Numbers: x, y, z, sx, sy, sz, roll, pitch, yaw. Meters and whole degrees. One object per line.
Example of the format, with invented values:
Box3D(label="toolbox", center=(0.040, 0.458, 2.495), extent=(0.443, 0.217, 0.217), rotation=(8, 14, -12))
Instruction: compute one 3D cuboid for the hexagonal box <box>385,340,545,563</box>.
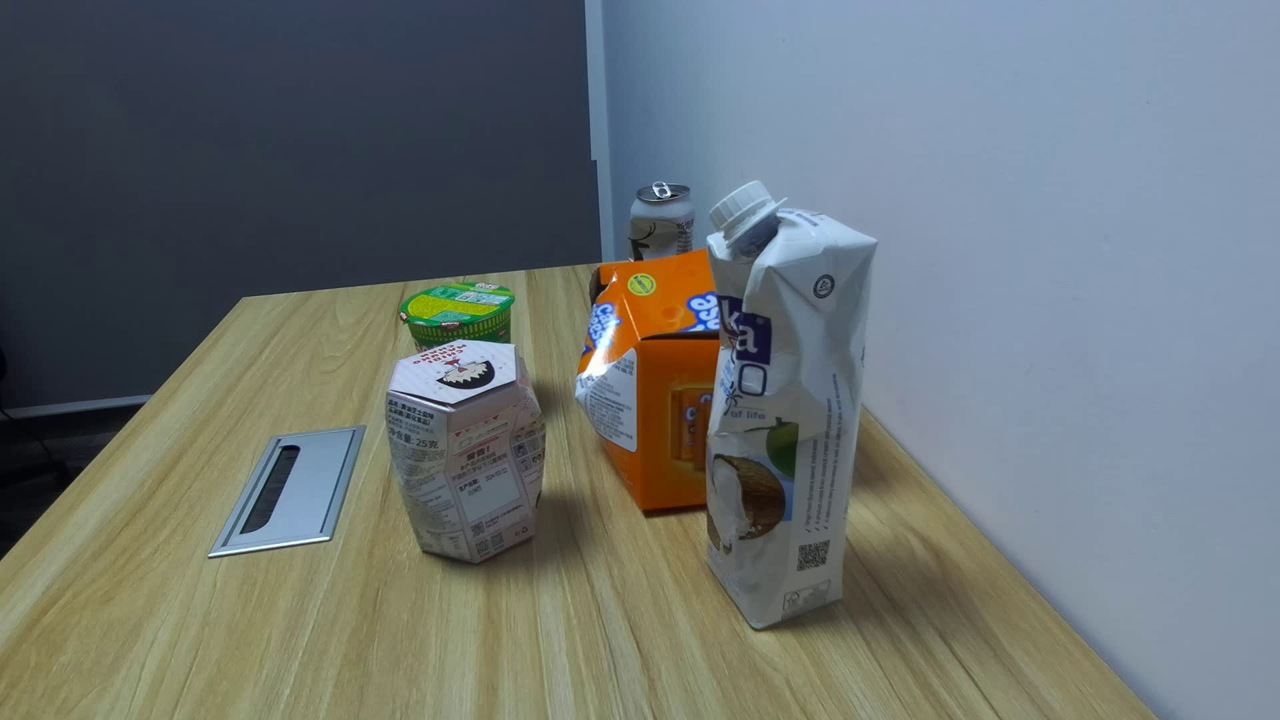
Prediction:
Box3D(label="hexagonal box", center=(-0.112, 0.062, 0.478), extent=(0.091, 0.134, 0.090), rotation=(-1, 29, 2))

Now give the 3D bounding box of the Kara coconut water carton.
Box3D(label="Kara coconut water carton", center=(0.076, 0.027, 0.392), extent=(0.078, 0.256, 0.083), rotation=(-8, 28, -7))

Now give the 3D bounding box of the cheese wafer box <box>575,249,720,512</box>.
Box3D(label="cheese wafer box", center=(0.042, -0.001, 0.577), extent=(0.191, 0.145, 0.218), rotation=(-5, 26, -8))

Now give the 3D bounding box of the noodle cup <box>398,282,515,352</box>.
Box3D(label="noodle cup", center=(-0.157, -0.001, 0.637), extent=(0.097, 0.110, 0.097), rotation=(-2, 25, 1))
